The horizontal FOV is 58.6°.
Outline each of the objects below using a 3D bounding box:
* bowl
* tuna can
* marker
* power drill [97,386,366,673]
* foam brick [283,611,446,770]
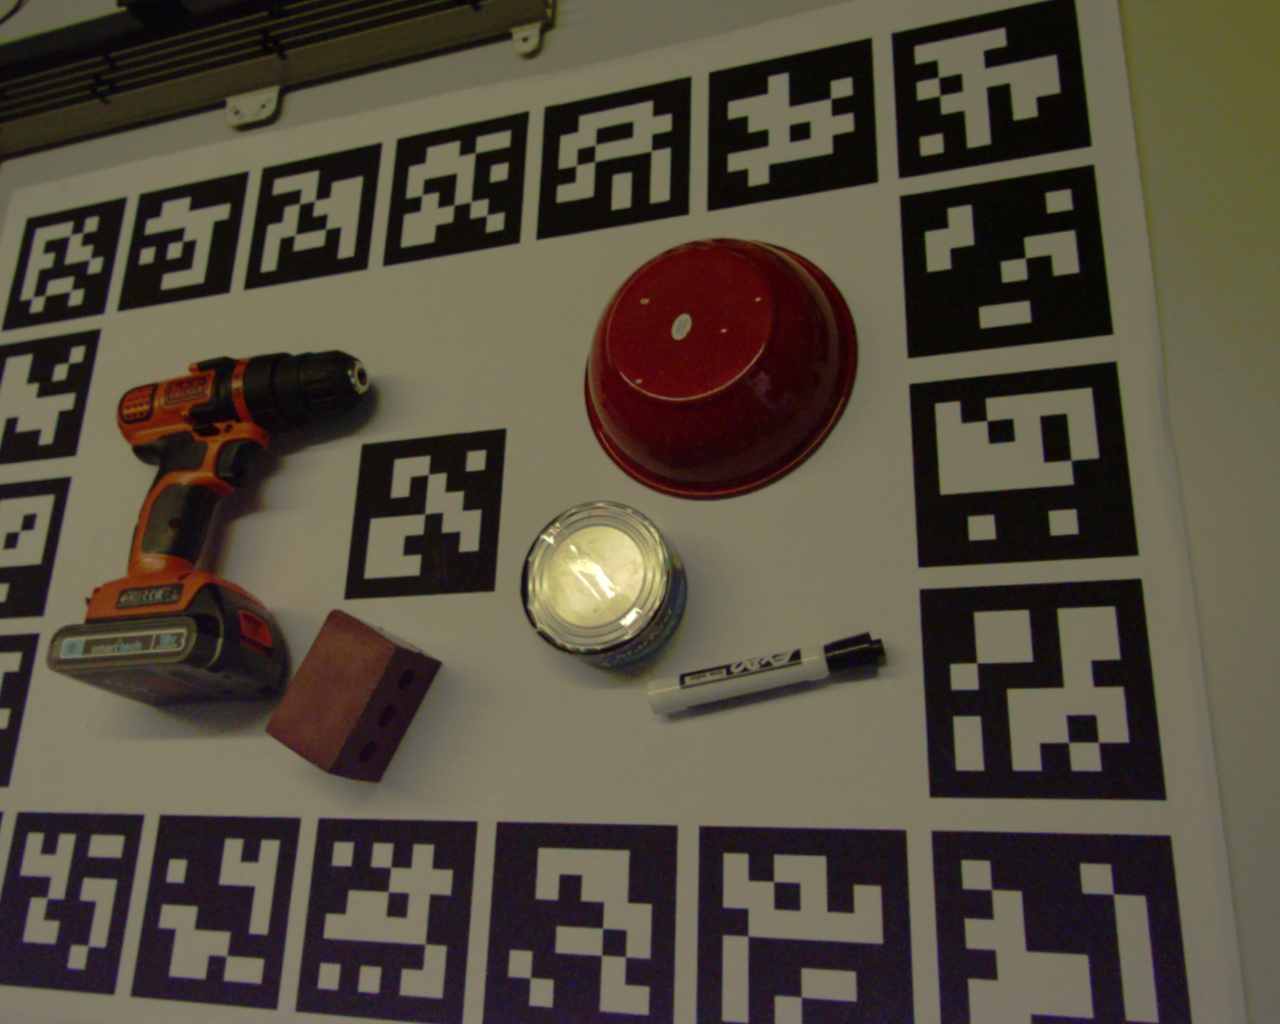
[{"bbox_3d":[0.027,-0.090,0.669,0.163,0.054,0.162,-11,62,20],"label":"bowl"},{"bbox_3d":[-0.023,0.037,0.645,0.086,0.033,0.086,-6,71,16],"label":"tuna can"},{"bbox_3d":[0.059,0.082,0.606,0.122,0.019,0.020,-14,70,16],"label":"marker"},{"bbox_3d":[-0.271,0.007,0.742,0.186,0.057,0.187,-5,68,15],"label":"power drill"},{"bbox_3d":[-0.162,0.106,0.673,0.052,0.052,0.078,21,82,23],"label":"foam brick"}]
